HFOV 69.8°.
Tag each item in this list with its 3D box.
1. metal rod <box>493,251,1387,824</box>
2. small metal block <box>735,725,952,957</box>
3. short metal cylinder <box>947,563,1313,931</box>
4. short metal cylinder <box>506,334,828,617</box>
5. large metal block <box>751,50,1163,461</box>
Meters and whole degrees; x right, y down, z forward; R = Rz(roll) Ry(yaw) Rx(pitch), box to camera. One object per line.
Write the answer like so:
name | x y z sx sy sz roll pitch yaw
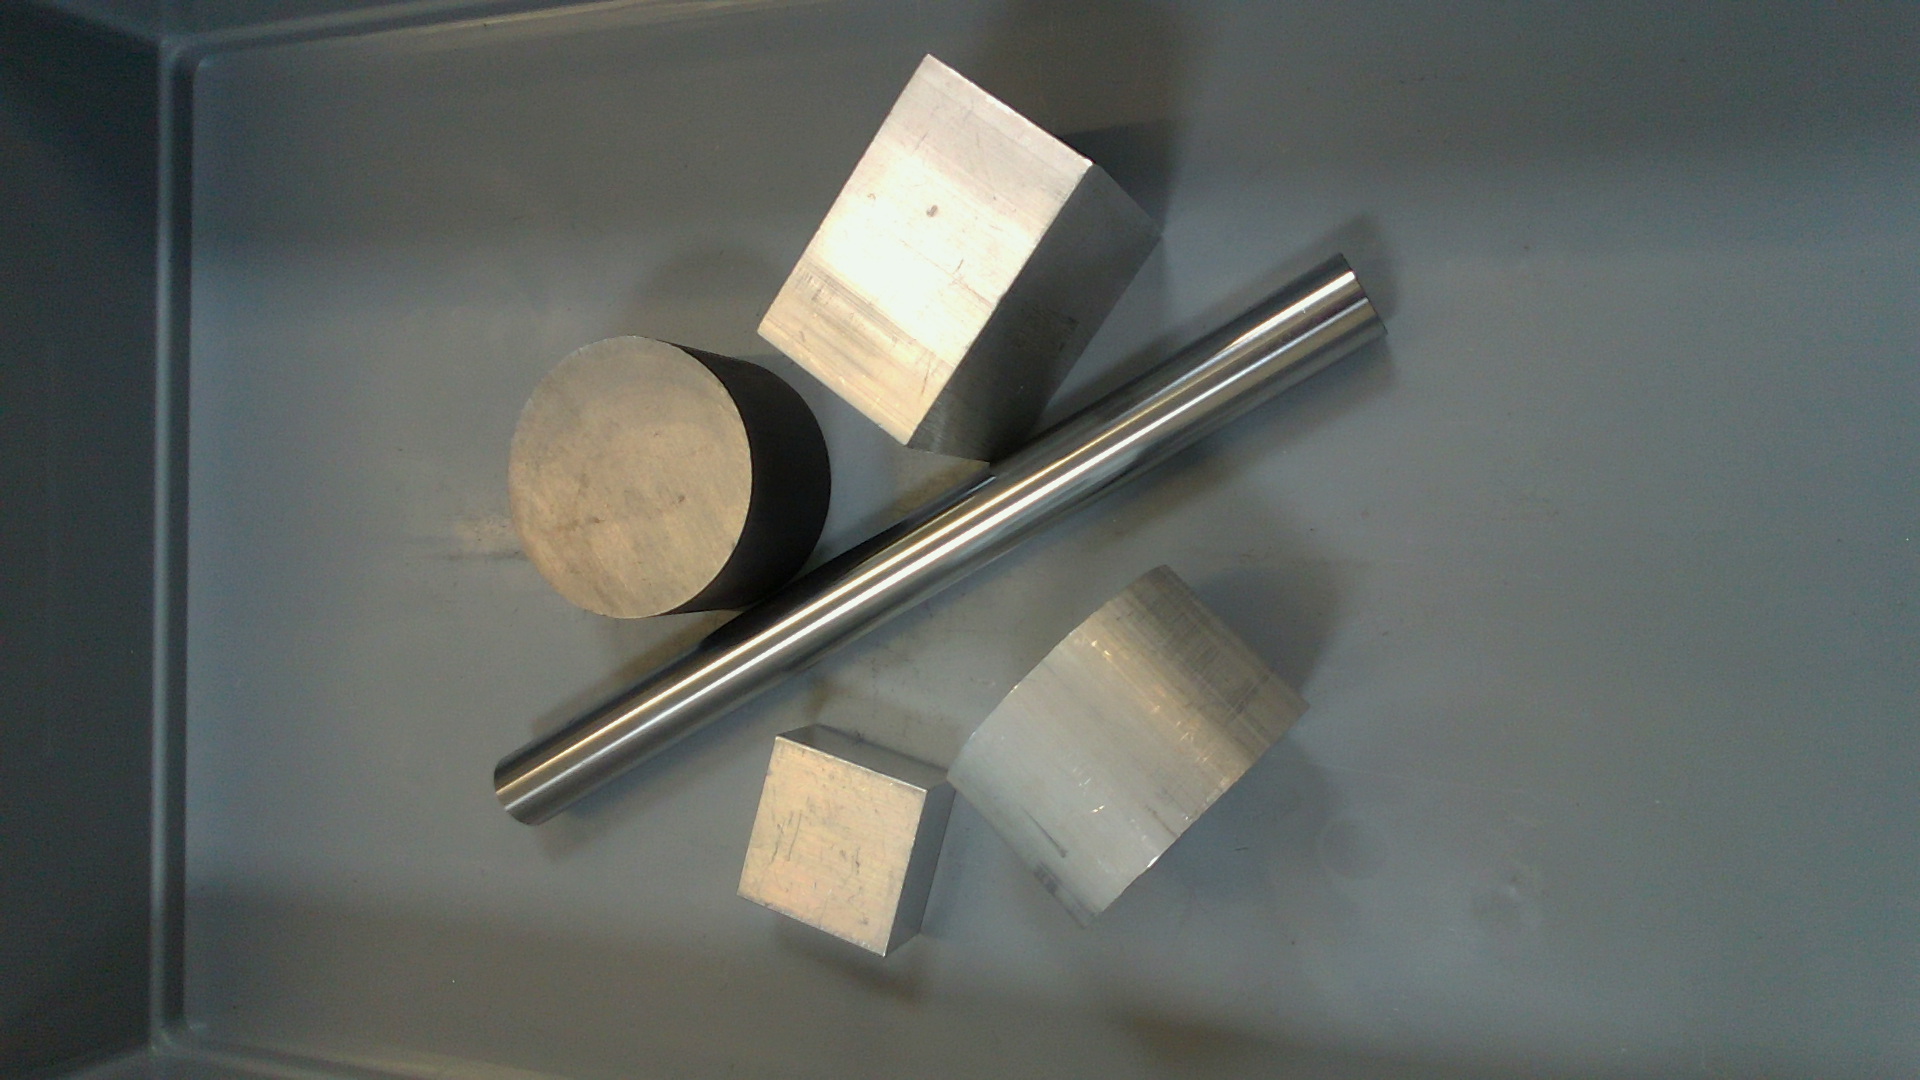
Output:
metal rod | -0.019 0.008 0.402 0.299 0.025 0.025 -30 80 17
small metal block | -0.033 0.087 0.407 0.050 0.025 0.050 16 95 19
short metal cylinder | 0.043 0.052 0.350 0.050 0.080 0.080 45 104 14
short metal cylinder | -0.087 -0.018 0.412 0.080 0.050 0.080 0 90 20
large metal block | 0.003 -0.069 0.365 0.050 0.080 0.080 38 102 16
